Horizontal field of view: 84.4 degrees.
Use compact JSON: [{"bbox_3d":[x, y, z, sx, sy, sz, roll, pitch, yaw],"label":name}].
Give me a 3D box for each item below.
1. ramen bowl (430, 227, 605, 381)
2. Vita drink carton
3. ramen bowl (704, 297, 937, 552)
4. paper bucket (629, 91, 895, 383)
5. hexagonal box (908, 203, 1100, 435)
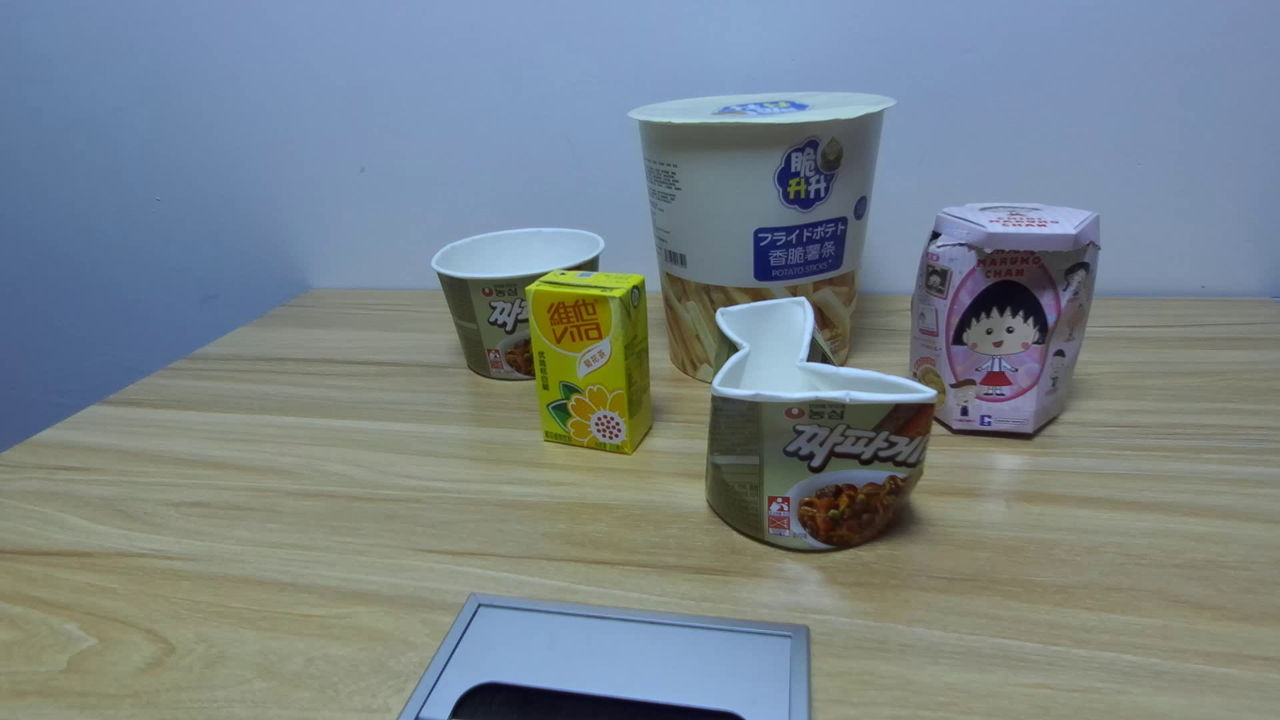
[{"bbox_3d":[-0.096,-0.048,0.596,0.140,0.095,0.140,-3,25,2],"label":"ramen bowl"},{"bbox_3d":[-0.030,0.000,0.455,0.066,0.109,0.043,7,26,22],"label":"Vita drink carton"},{"bbox_3d":[0.091,0.030,0.389,0.111,0.093,0.128,-1,25,7],"label":"ramen bowl"},{"bbox_3d":[0.090,-0.094,0.543,0.198,0.195,0.198,-3,24,2],"label":"paper bucket"},{"bbox_3d":[0.229,-0.028,0.454,0.090,0.134,0.090,-16,27,-32],"label":"hexagonal box"}]
